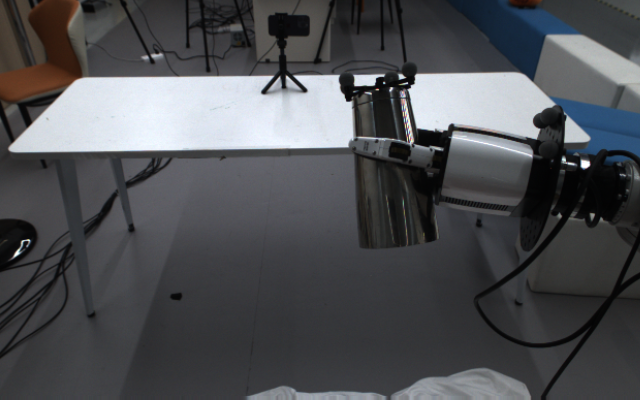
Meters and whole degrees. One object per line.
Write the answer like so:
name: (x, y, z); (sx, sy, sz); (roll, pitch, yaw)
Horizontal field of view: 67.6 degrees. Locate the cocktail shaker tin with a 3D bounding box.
cocktail shaker tin: (0.081, -0.036, 0.554); (0.093, 0.170, 0.093); (-8, 1, 0)
